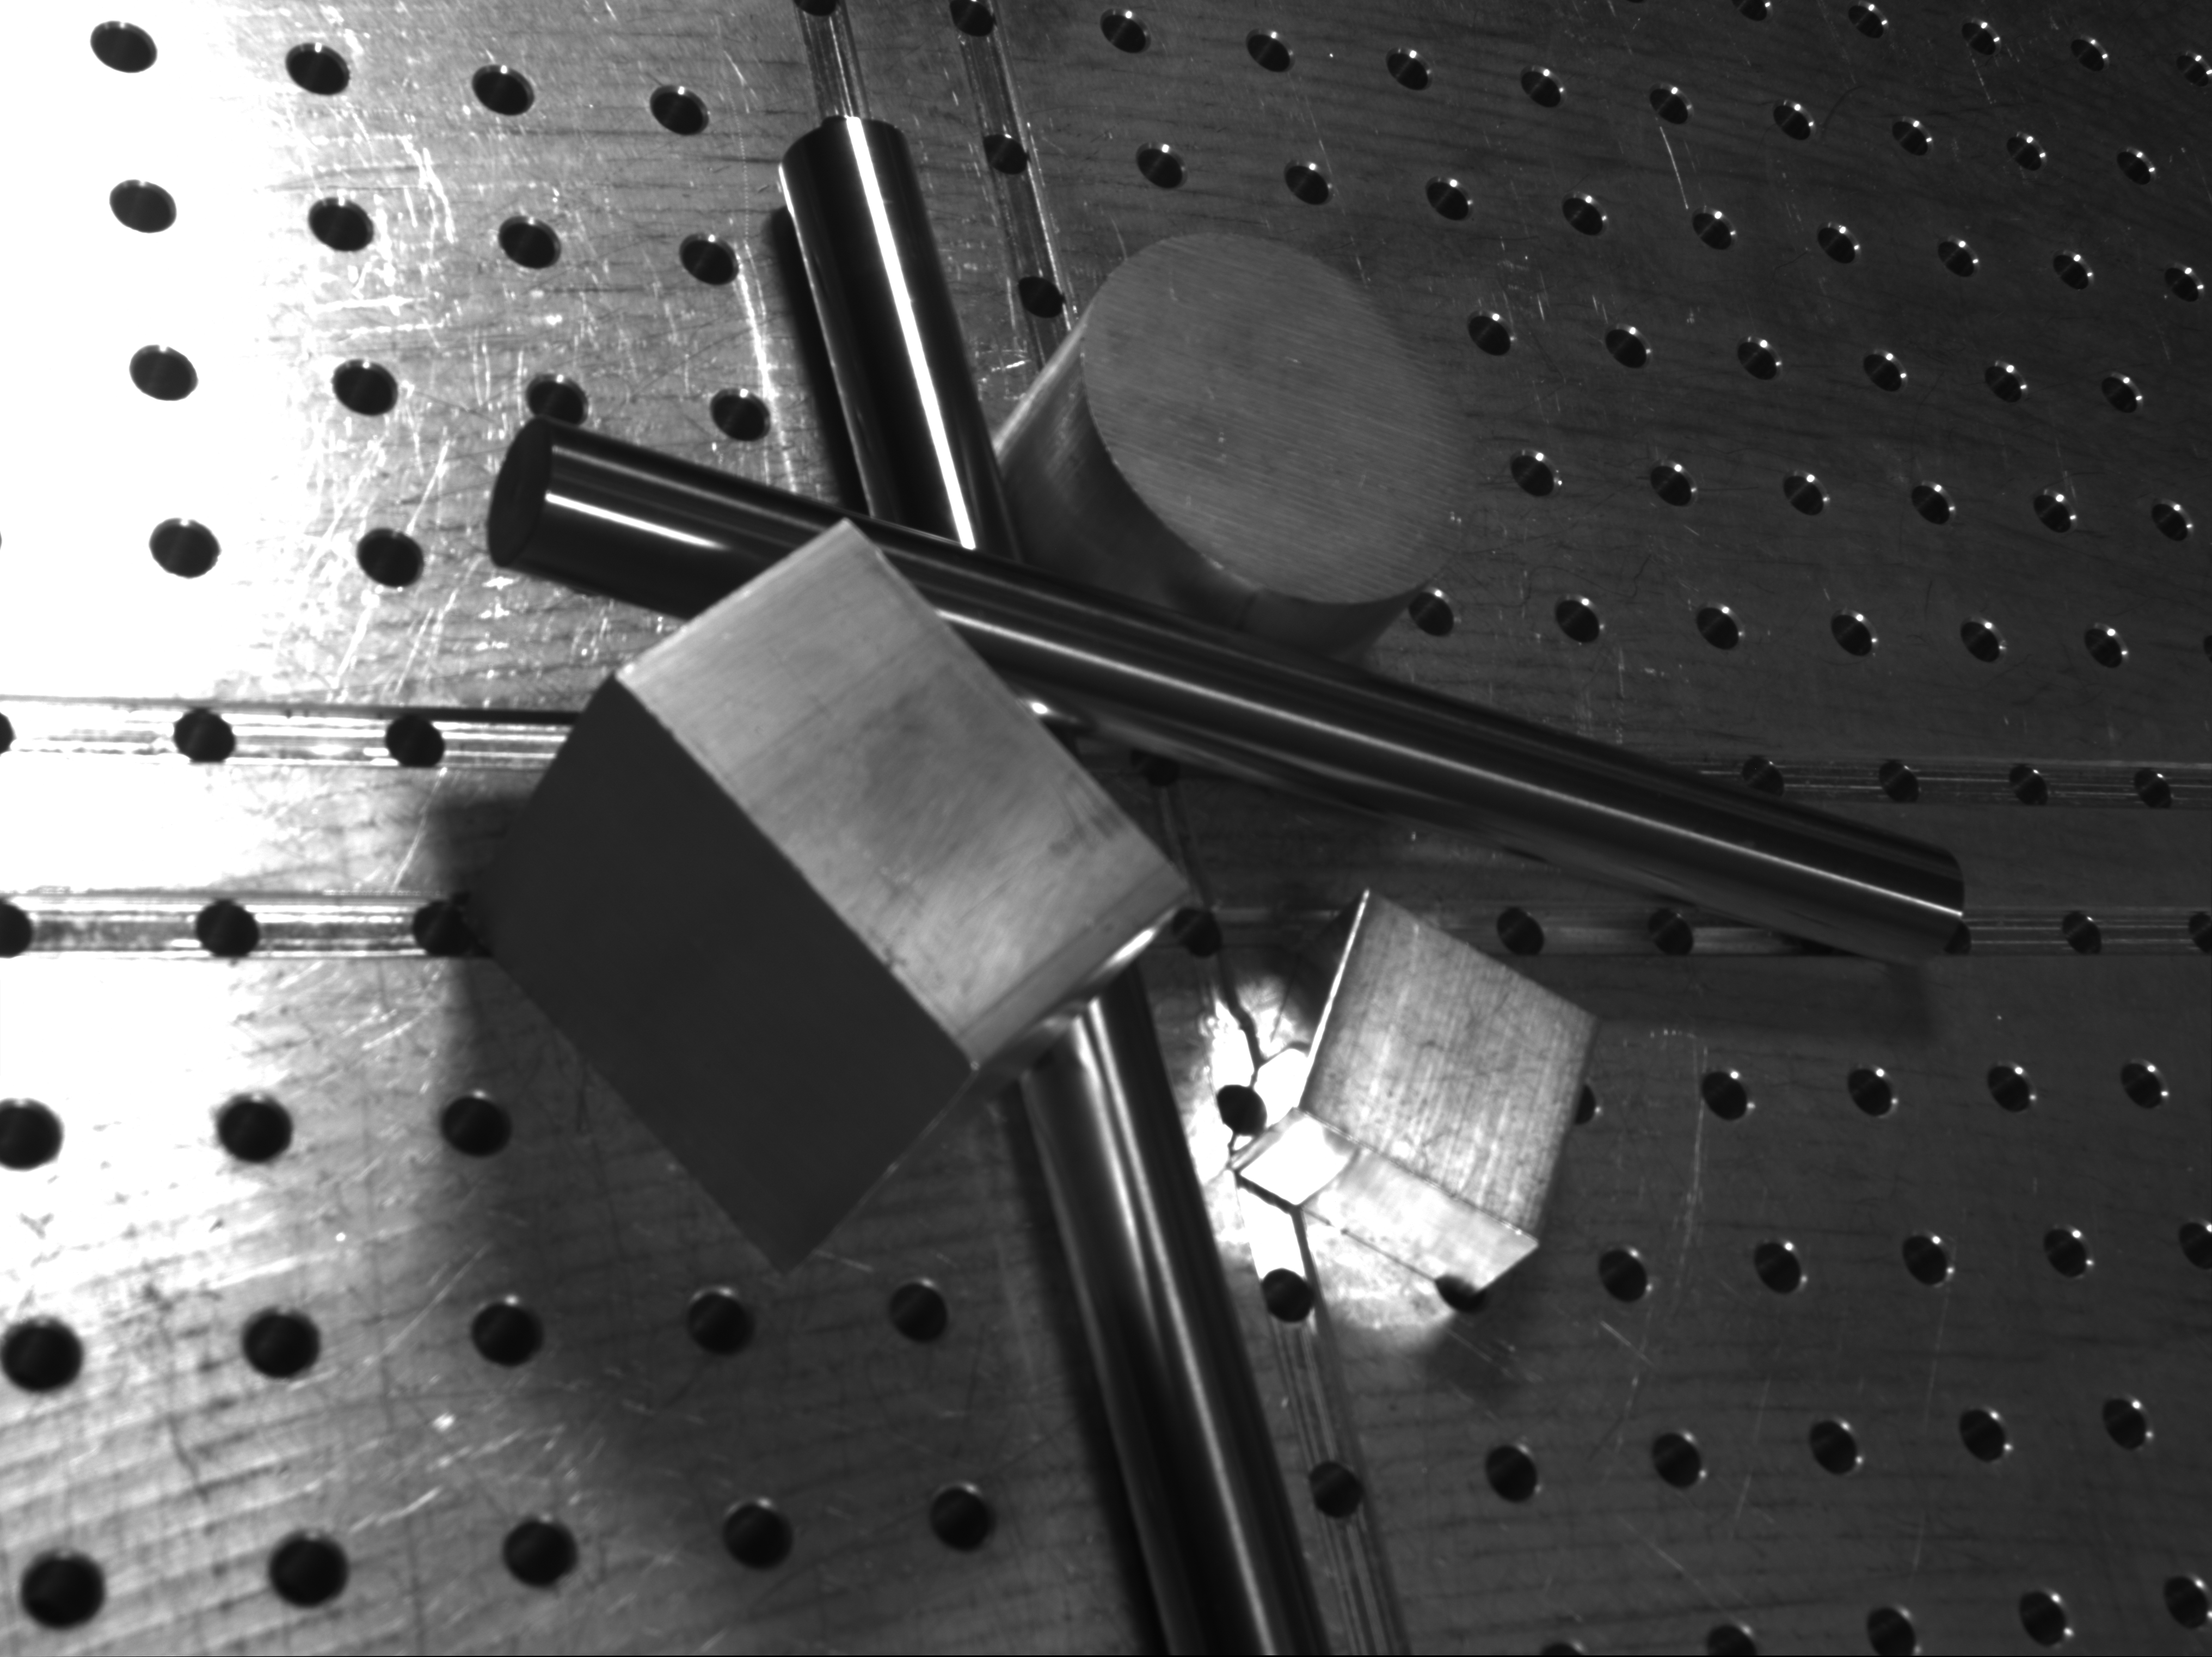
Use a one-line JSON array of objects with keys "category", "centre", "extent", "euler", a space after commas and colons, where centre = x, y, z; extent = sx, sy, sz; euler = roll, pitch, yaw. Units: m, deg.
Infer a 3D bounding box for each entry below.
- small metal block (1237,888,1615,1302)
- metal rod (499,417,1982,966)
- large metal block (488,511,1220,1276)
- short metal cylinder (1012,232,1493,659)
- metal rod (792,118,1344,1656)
[{"category": "small metal block", "centre": [0.057, 0.047, 0.646], "extent": [0.050, 0.025, 0.050], "euler": [29, 52, -9]}, {"category": "metal rod", "centre": [0.037, -0.019, 0.650], "extent": [0.301, 0.025, 0.025], "euler": [15, 55, -29]}, {"category": "large metal block", "centre": [-0.041, 0.012, 0.577], "extent": [0.080, 0.080, 0.050], "euler": [47, 51, 4]}, {"category": "short metal cylinder", "centre": [0.024, -0.063, 0.678], "extent": [0.080, 0.050, 0.080], "euler": [14, 56, -21]}, {"category": "metal rod", "centre": [-0.010, 0.005, 0.634], "extent": [0.025, 0.025, 0.300], "euler": [-2, 62, -29]}]
